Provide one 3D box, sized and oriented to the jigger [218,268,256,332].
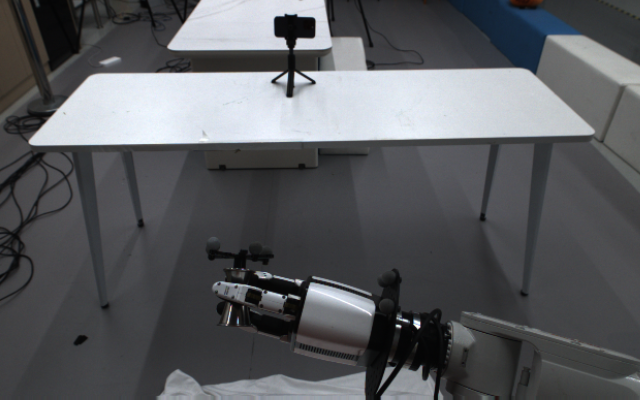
[{"bbox_3d":[-0.102,0.119,0.594,0.043,0.043,0.071,3,76,1],"label":"jigger"}]
